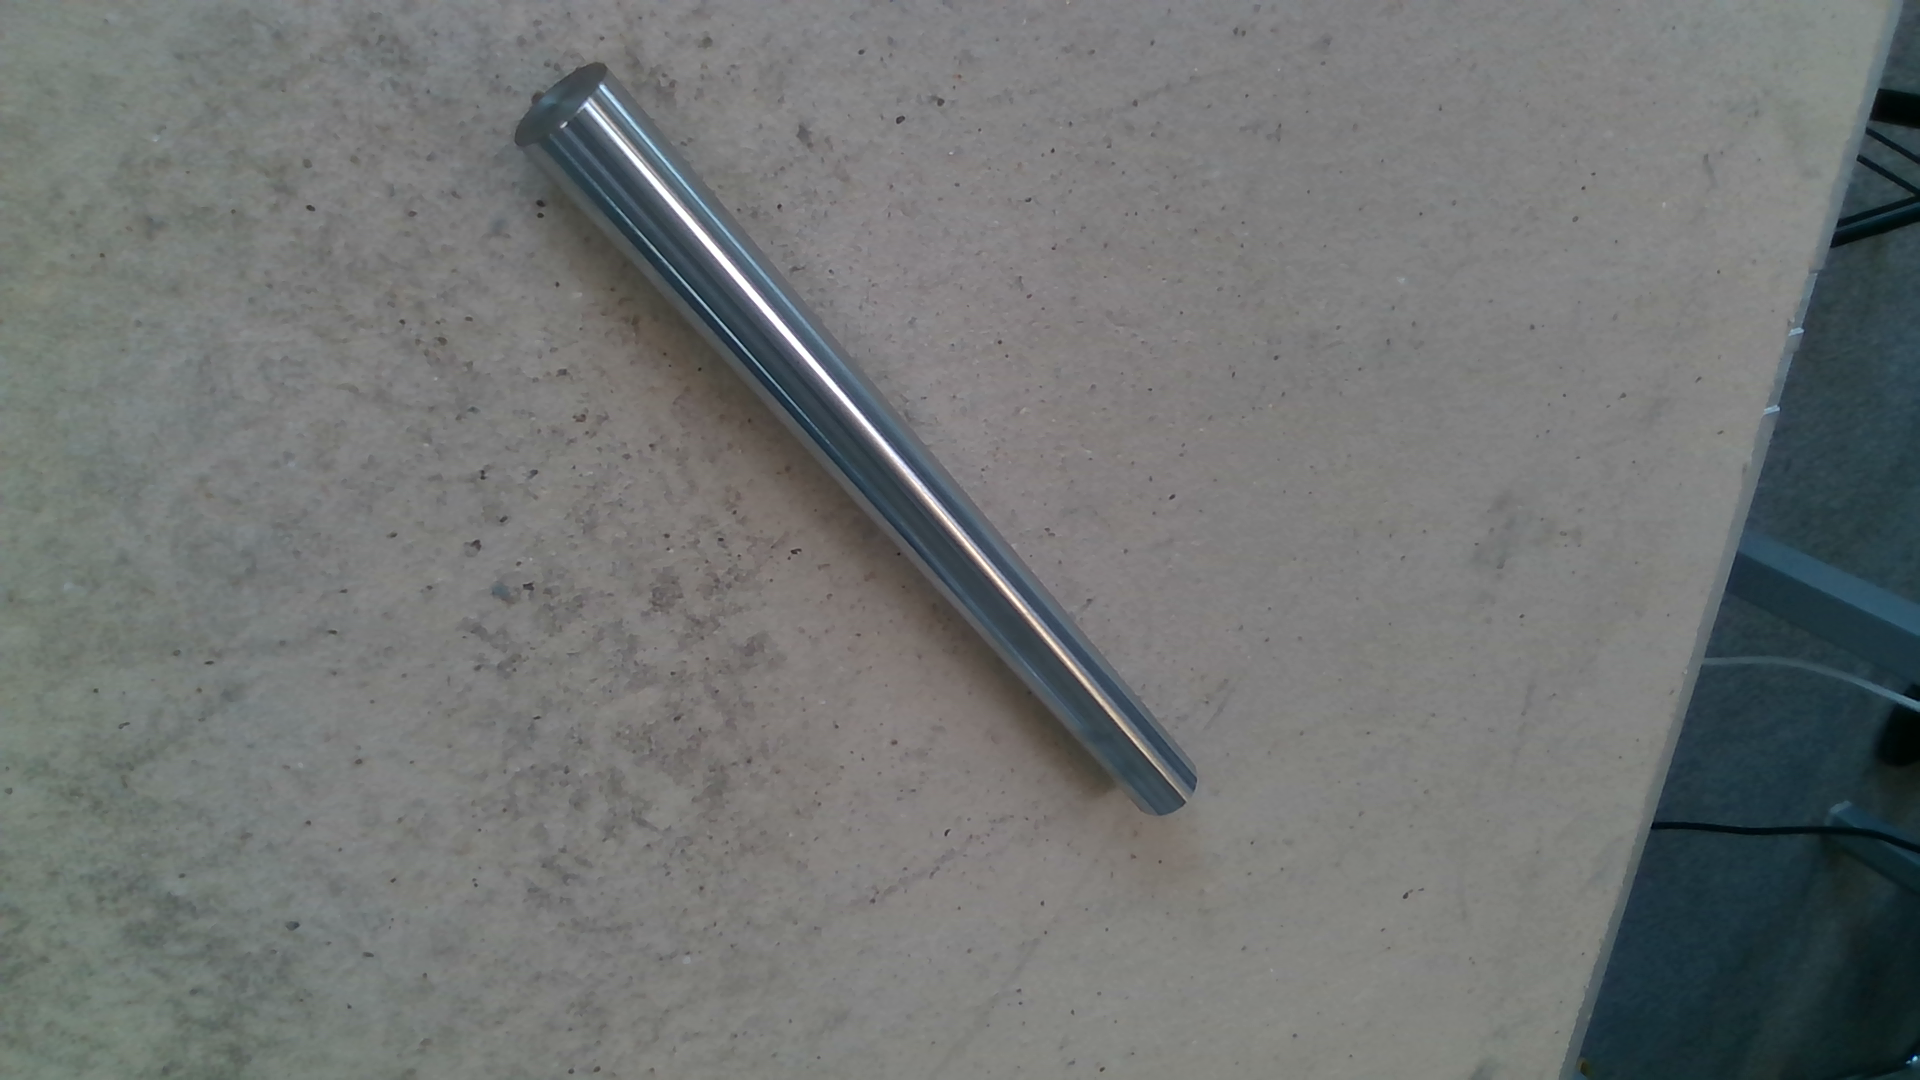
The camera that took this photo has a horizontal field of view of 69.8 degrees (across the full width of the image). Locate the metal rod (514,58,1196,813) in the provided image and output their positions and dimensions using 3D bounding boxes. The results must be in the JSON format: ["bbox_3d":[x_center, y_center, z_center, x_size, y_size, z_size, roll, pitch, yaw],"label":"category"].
[{"bbox_3d":[-0.007,-0.004,0.383,0.025,0.025,0.301,-44,129,-4],"label":"metal rod"}]
